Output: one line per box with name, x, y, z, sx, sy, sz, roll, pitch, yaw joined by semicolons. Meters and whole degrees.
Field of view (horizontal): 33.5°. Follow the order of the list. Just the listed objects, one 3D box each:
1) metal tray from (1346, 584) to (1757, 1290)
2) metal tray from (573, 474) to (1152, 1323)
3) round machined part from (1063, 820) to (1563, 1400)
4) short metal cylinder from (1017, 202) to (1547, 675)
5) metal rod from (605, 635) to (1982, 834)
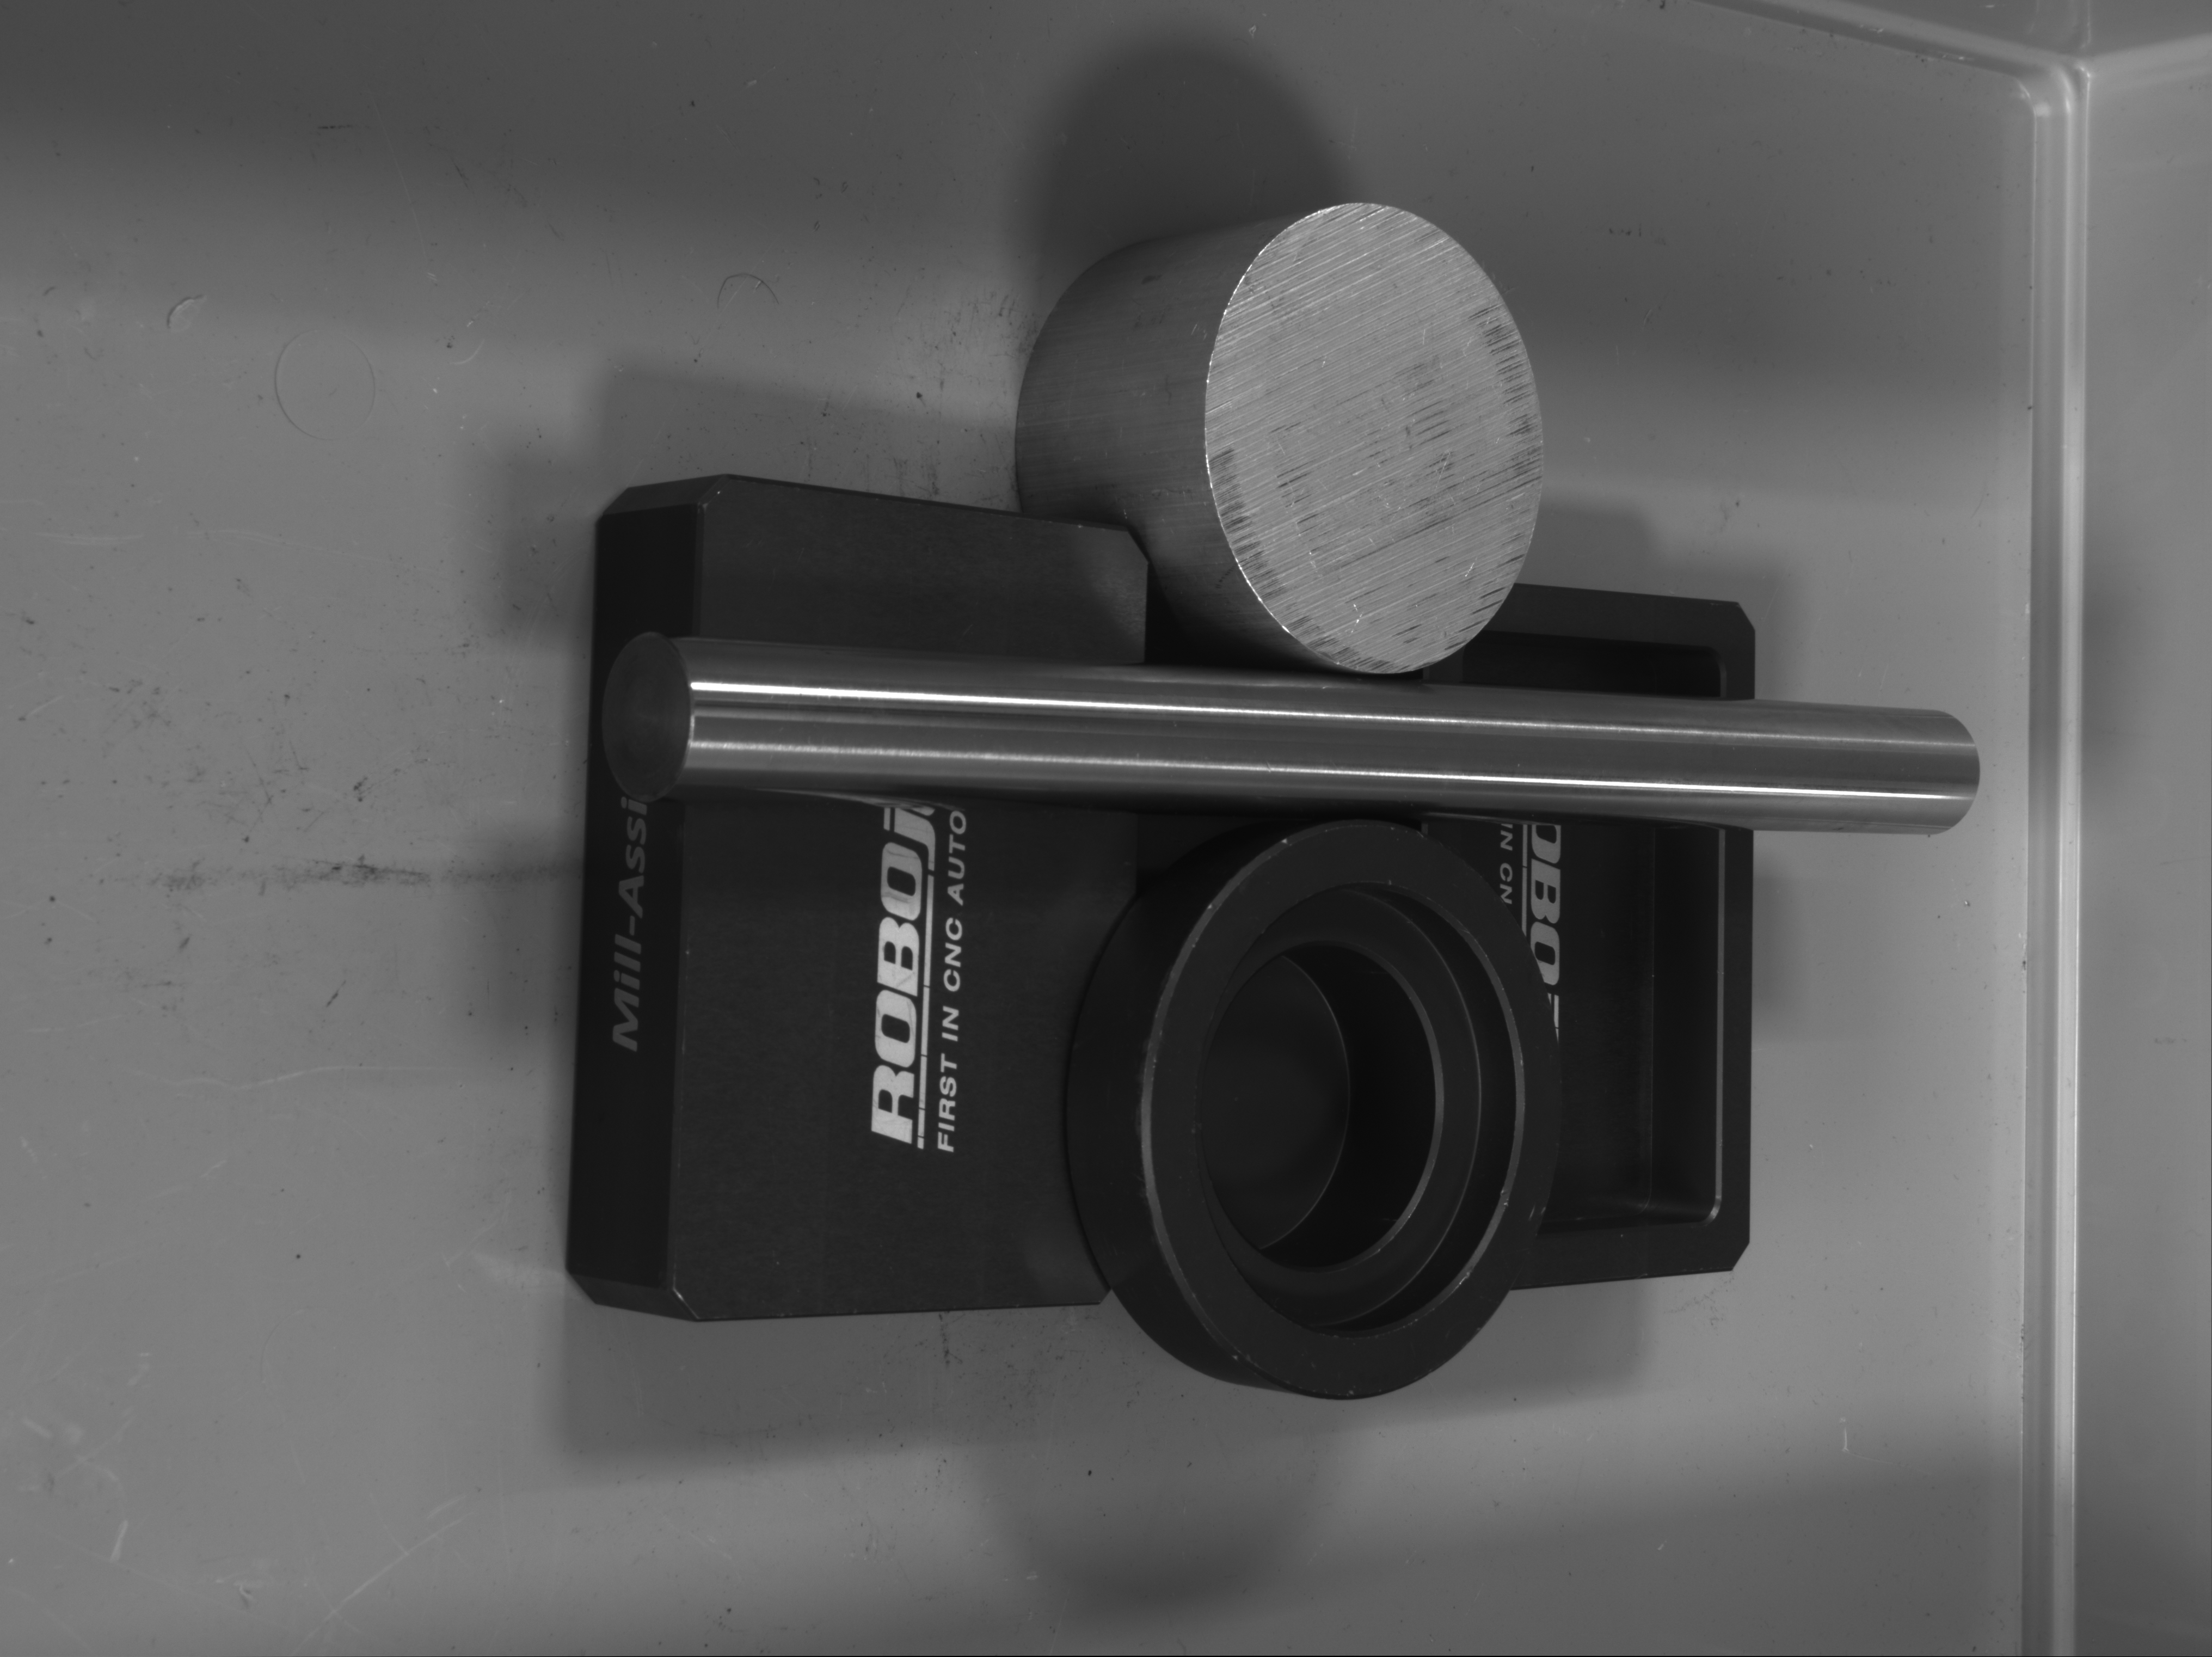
metal tray;0.083;0.020;0.700;0.090;0.030;0.130;1;89;-40
metal tray;-0.038;0.012;0.598;0.090;0.030;0.130;4;88;-40
round machined part;0.031;0.048;0.637;0.098;0.042;0.098;0;90;-40
short metal cylinder;0.031;-0.066;0.644;0.080;0.050;0.080;0;90;-40
metal rod;0.049;-0.013;0.636;0.301;0.025;0.025;1;89;-40
